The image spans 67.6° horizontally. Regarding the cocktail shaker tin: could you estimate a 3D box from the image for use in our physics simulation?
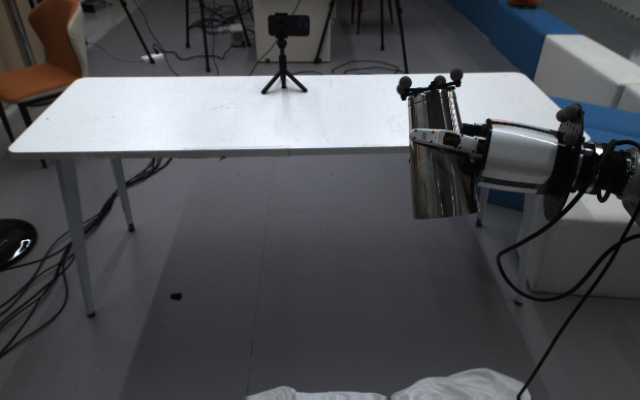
[{"bbox_3d":[0.167,-0.064,0.681,0.093,0.170,0.093,-8,1,0],"label":"cocktail shaker tin"}]
